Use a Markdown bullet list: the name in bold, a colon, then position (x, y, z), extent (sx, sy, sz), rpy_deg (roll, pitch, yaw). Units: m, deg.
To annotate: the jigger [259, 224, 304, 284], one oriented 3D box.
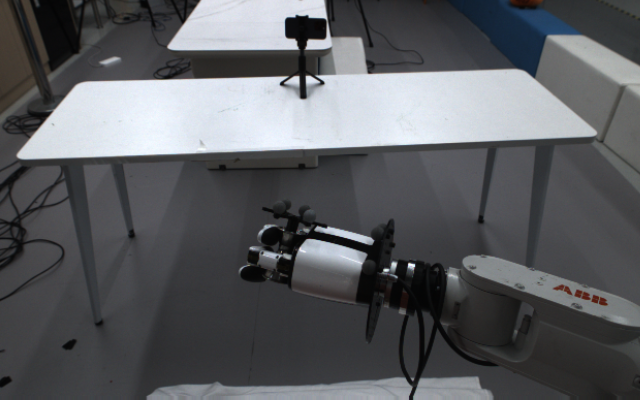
- **jigger**: position (-0.046, 0.072, 0.640), extent (0.043, 0.071, 0.043), rpy_deg (17, 2, -1)
